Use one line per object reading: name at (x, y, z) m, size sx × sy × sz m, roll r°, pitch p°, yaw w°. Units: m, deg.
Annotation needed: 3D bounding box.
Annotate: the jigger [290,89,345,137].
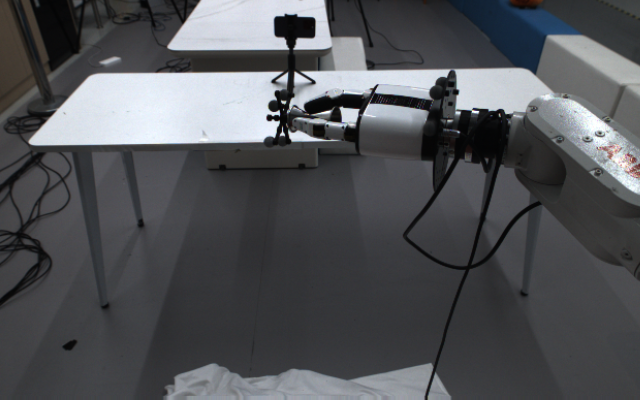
jigger at (-0.003, -0.118, 0.696) m, size 0.071 × 0.043 × 0.043 m, roll 7°, pitch 34°, yaw 23°
